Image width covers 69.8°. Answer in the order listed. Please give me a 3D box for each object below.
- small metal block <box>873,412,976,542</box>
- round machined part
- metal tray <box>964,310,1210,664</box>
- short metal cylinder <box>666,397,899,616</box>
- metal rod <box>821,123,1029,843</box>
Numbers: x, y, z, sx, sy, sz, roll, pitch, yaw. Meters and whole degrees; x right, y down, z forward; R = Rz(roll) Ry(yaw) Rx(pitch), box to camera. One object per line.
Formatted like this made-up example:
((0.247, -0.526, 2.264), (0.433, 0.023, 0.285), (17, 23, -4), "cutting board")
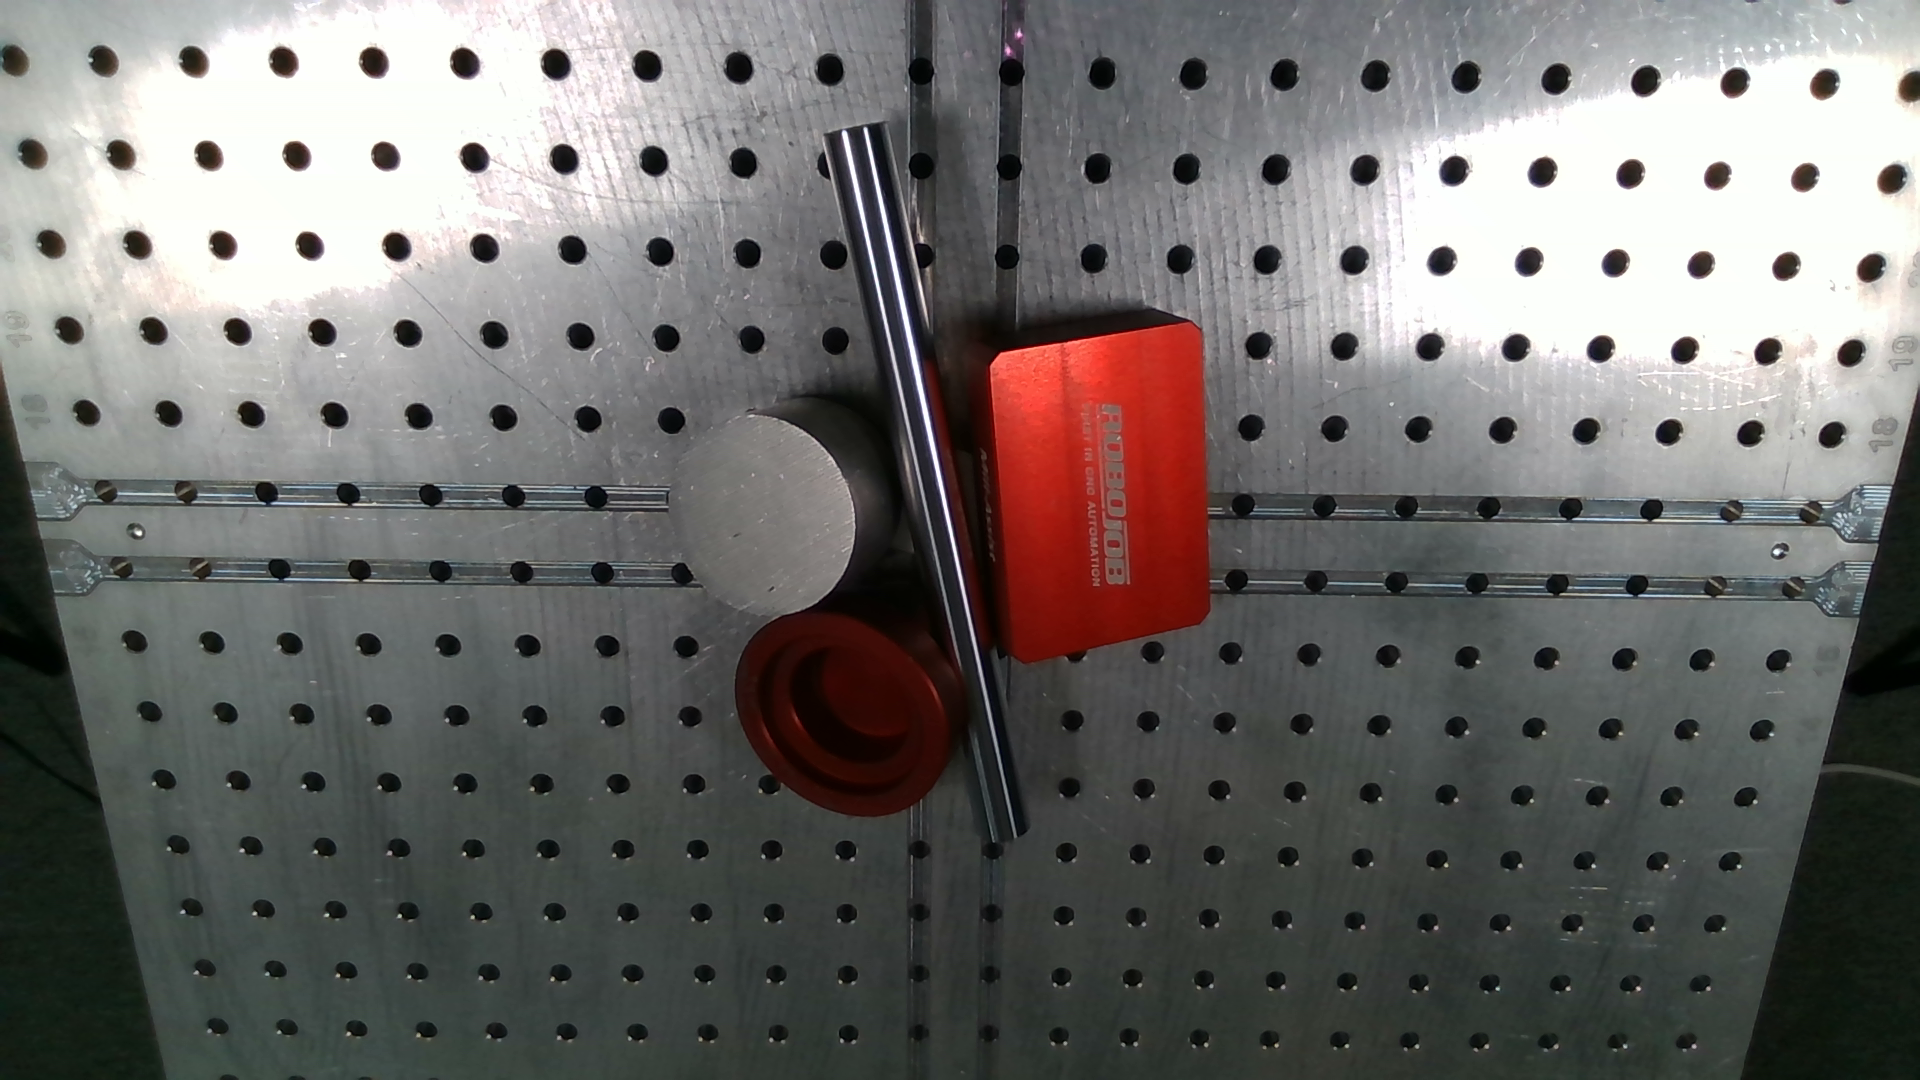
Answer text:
((-0.018, -0.026, 0.586), (0.050, 0.025, 0.050), (17, 109, -6), "small metal block")
((-0.044, 0.066, 0.590), (0.098, 0.042, 0.098), (9, 116, 20), "round machined part")
((0.054, -0.022, 0.561), (0.090, 0.030, 0.130), (-12, 112, -16), "metal tray")
((-0.071, -0.015, 0.556), (0.080, 0.050, 0.080), (5, 105, 18), "short metal cylinder")
((-0.010, -0.012, 0.555), (0.025, 0.025, 0.301), (-10, 110, 4), "metal rod")
